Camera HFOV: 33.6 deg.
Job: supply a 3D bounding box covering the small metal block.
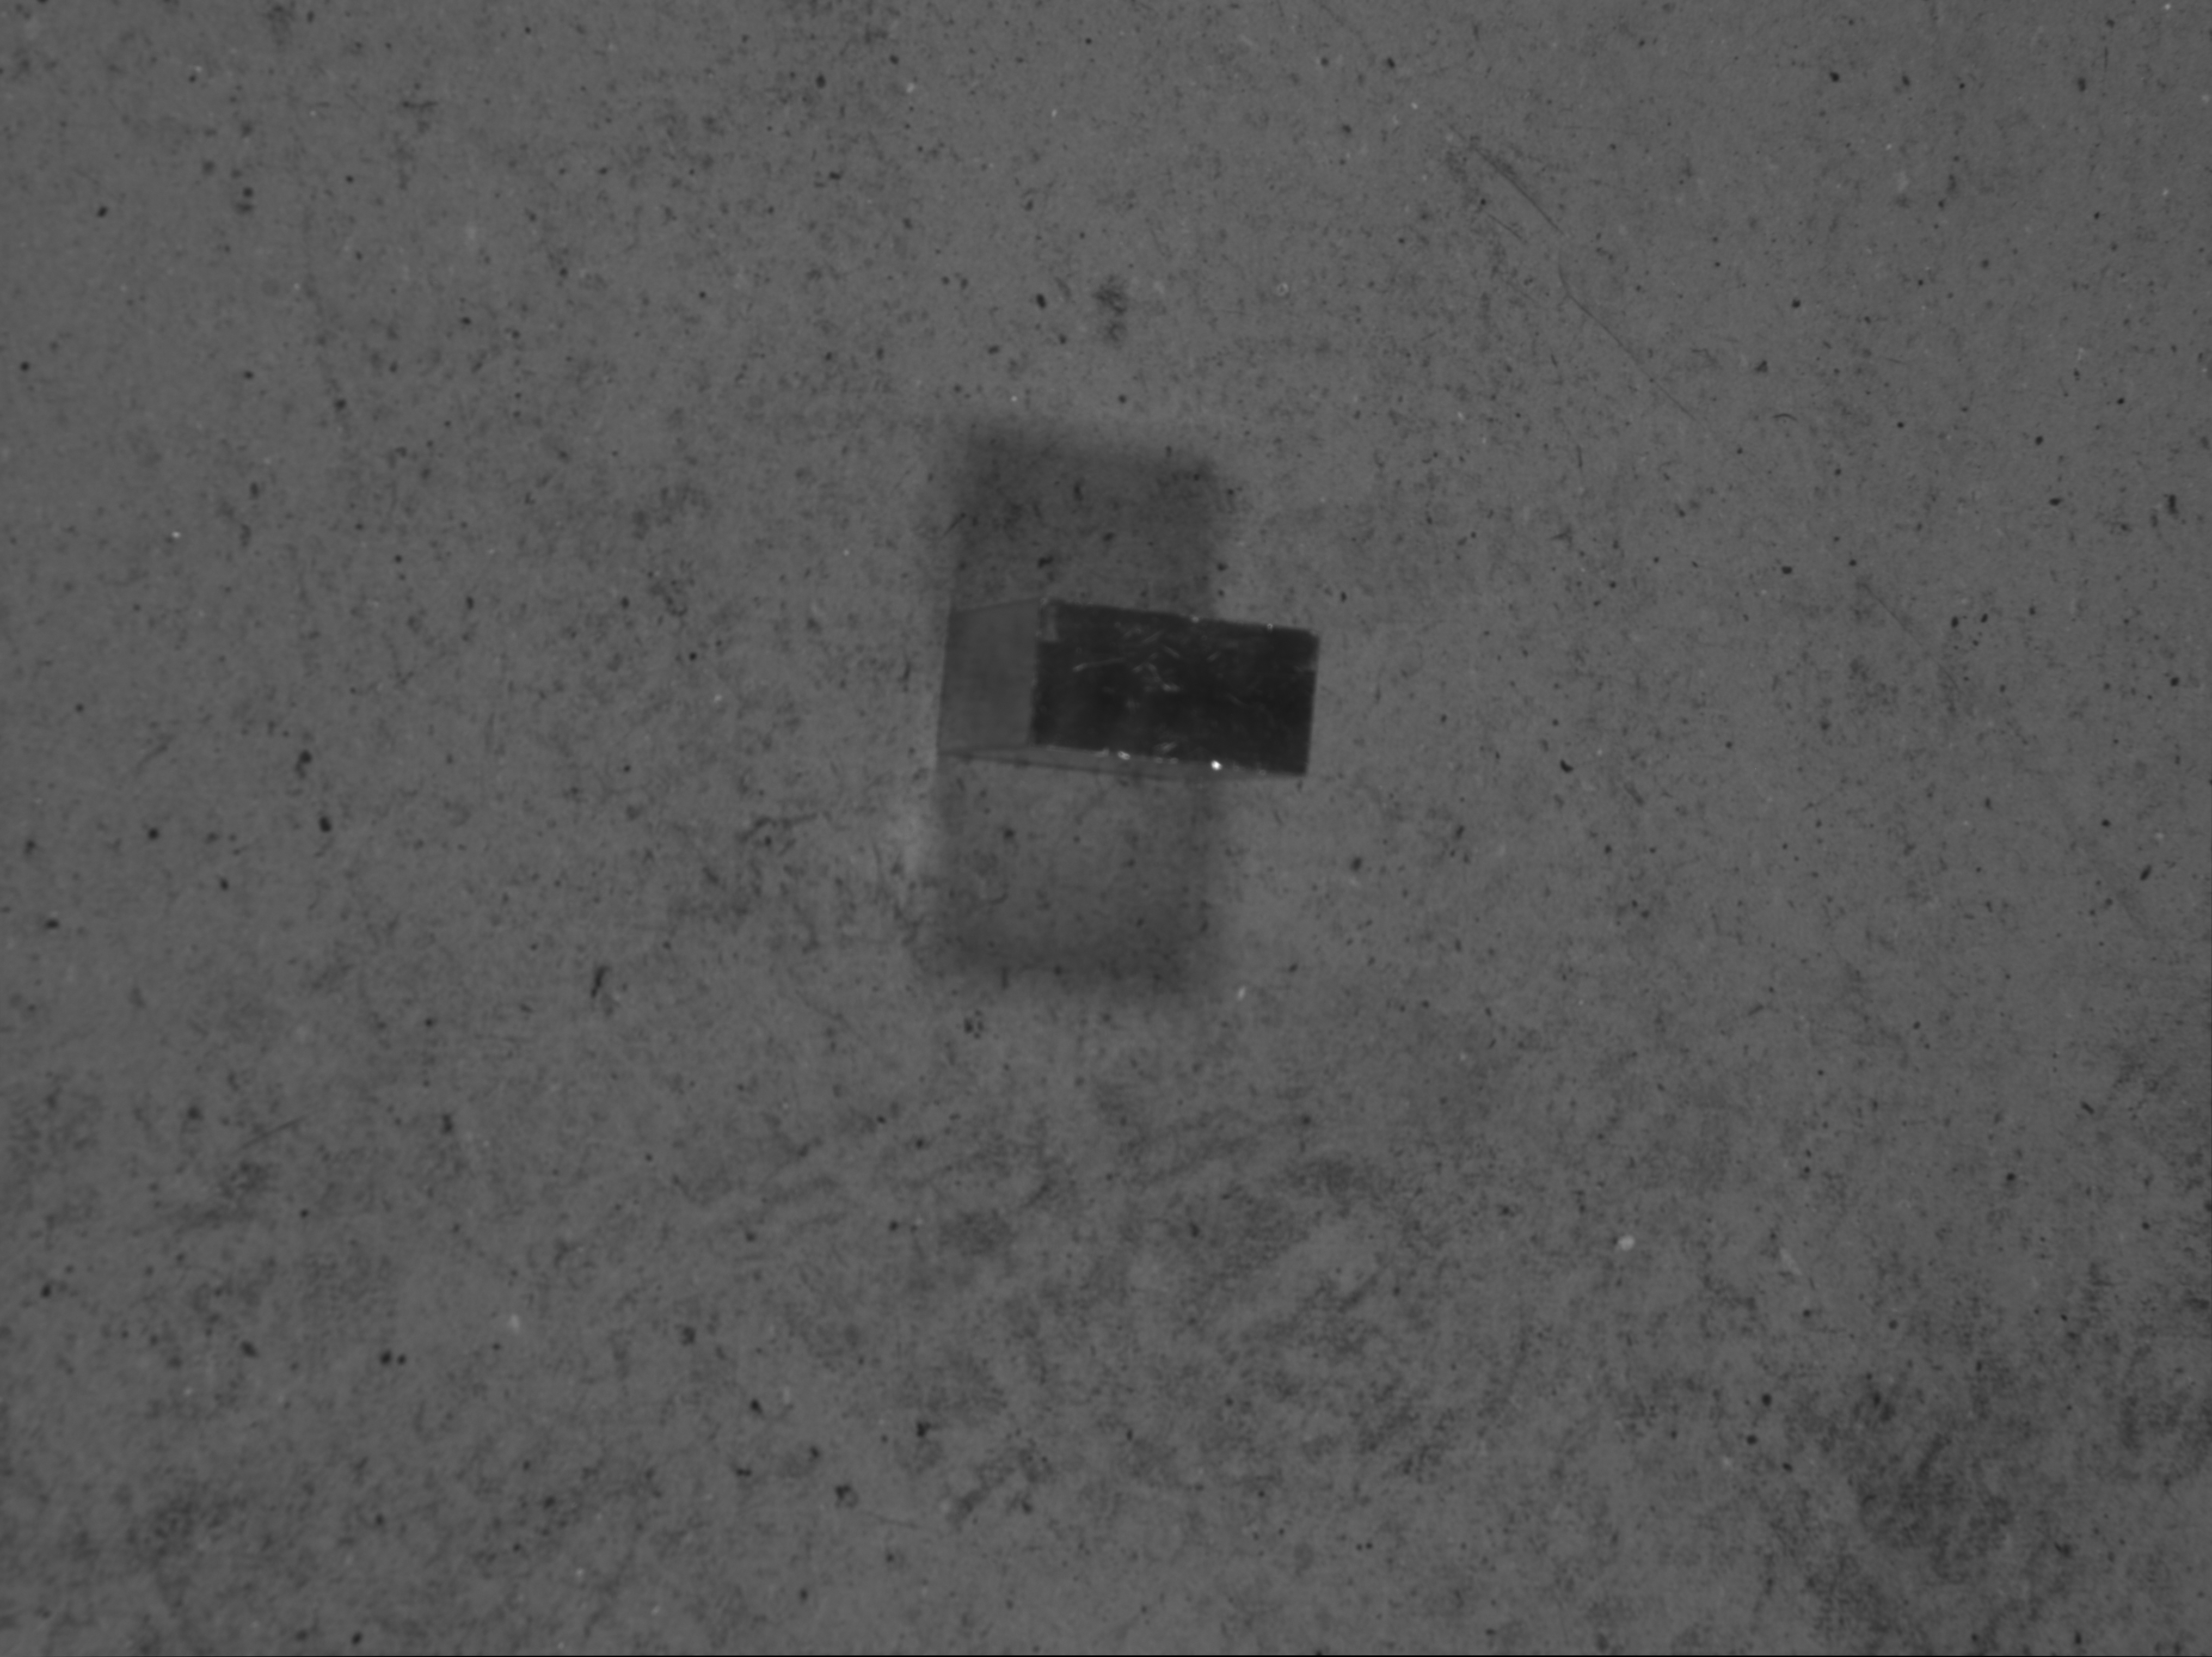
[{"bbox_3d":[0.006,-0.023,0.632,0.050,0.050,0.025,6,88,-20],"label":"small metal block"}]
